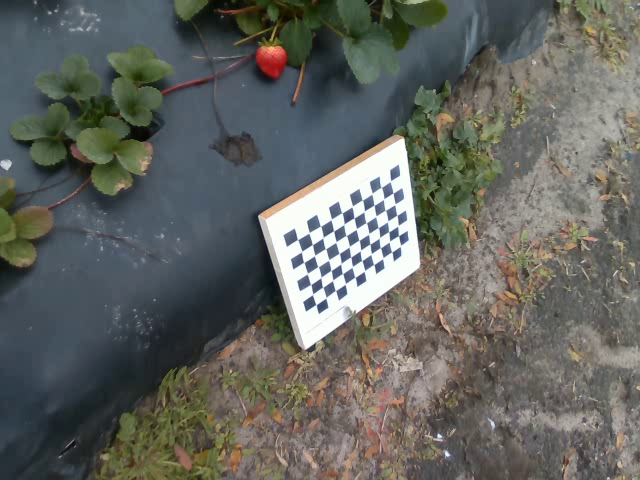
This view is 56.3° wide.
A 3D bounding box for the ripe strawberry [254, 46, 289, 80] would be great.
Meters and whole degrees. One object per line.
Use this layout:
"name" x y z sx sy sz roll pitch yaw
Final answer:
"ripe strawberry" -0.083 -0.311 1.051 0.061 0.065 0.049 -24 28 -34
